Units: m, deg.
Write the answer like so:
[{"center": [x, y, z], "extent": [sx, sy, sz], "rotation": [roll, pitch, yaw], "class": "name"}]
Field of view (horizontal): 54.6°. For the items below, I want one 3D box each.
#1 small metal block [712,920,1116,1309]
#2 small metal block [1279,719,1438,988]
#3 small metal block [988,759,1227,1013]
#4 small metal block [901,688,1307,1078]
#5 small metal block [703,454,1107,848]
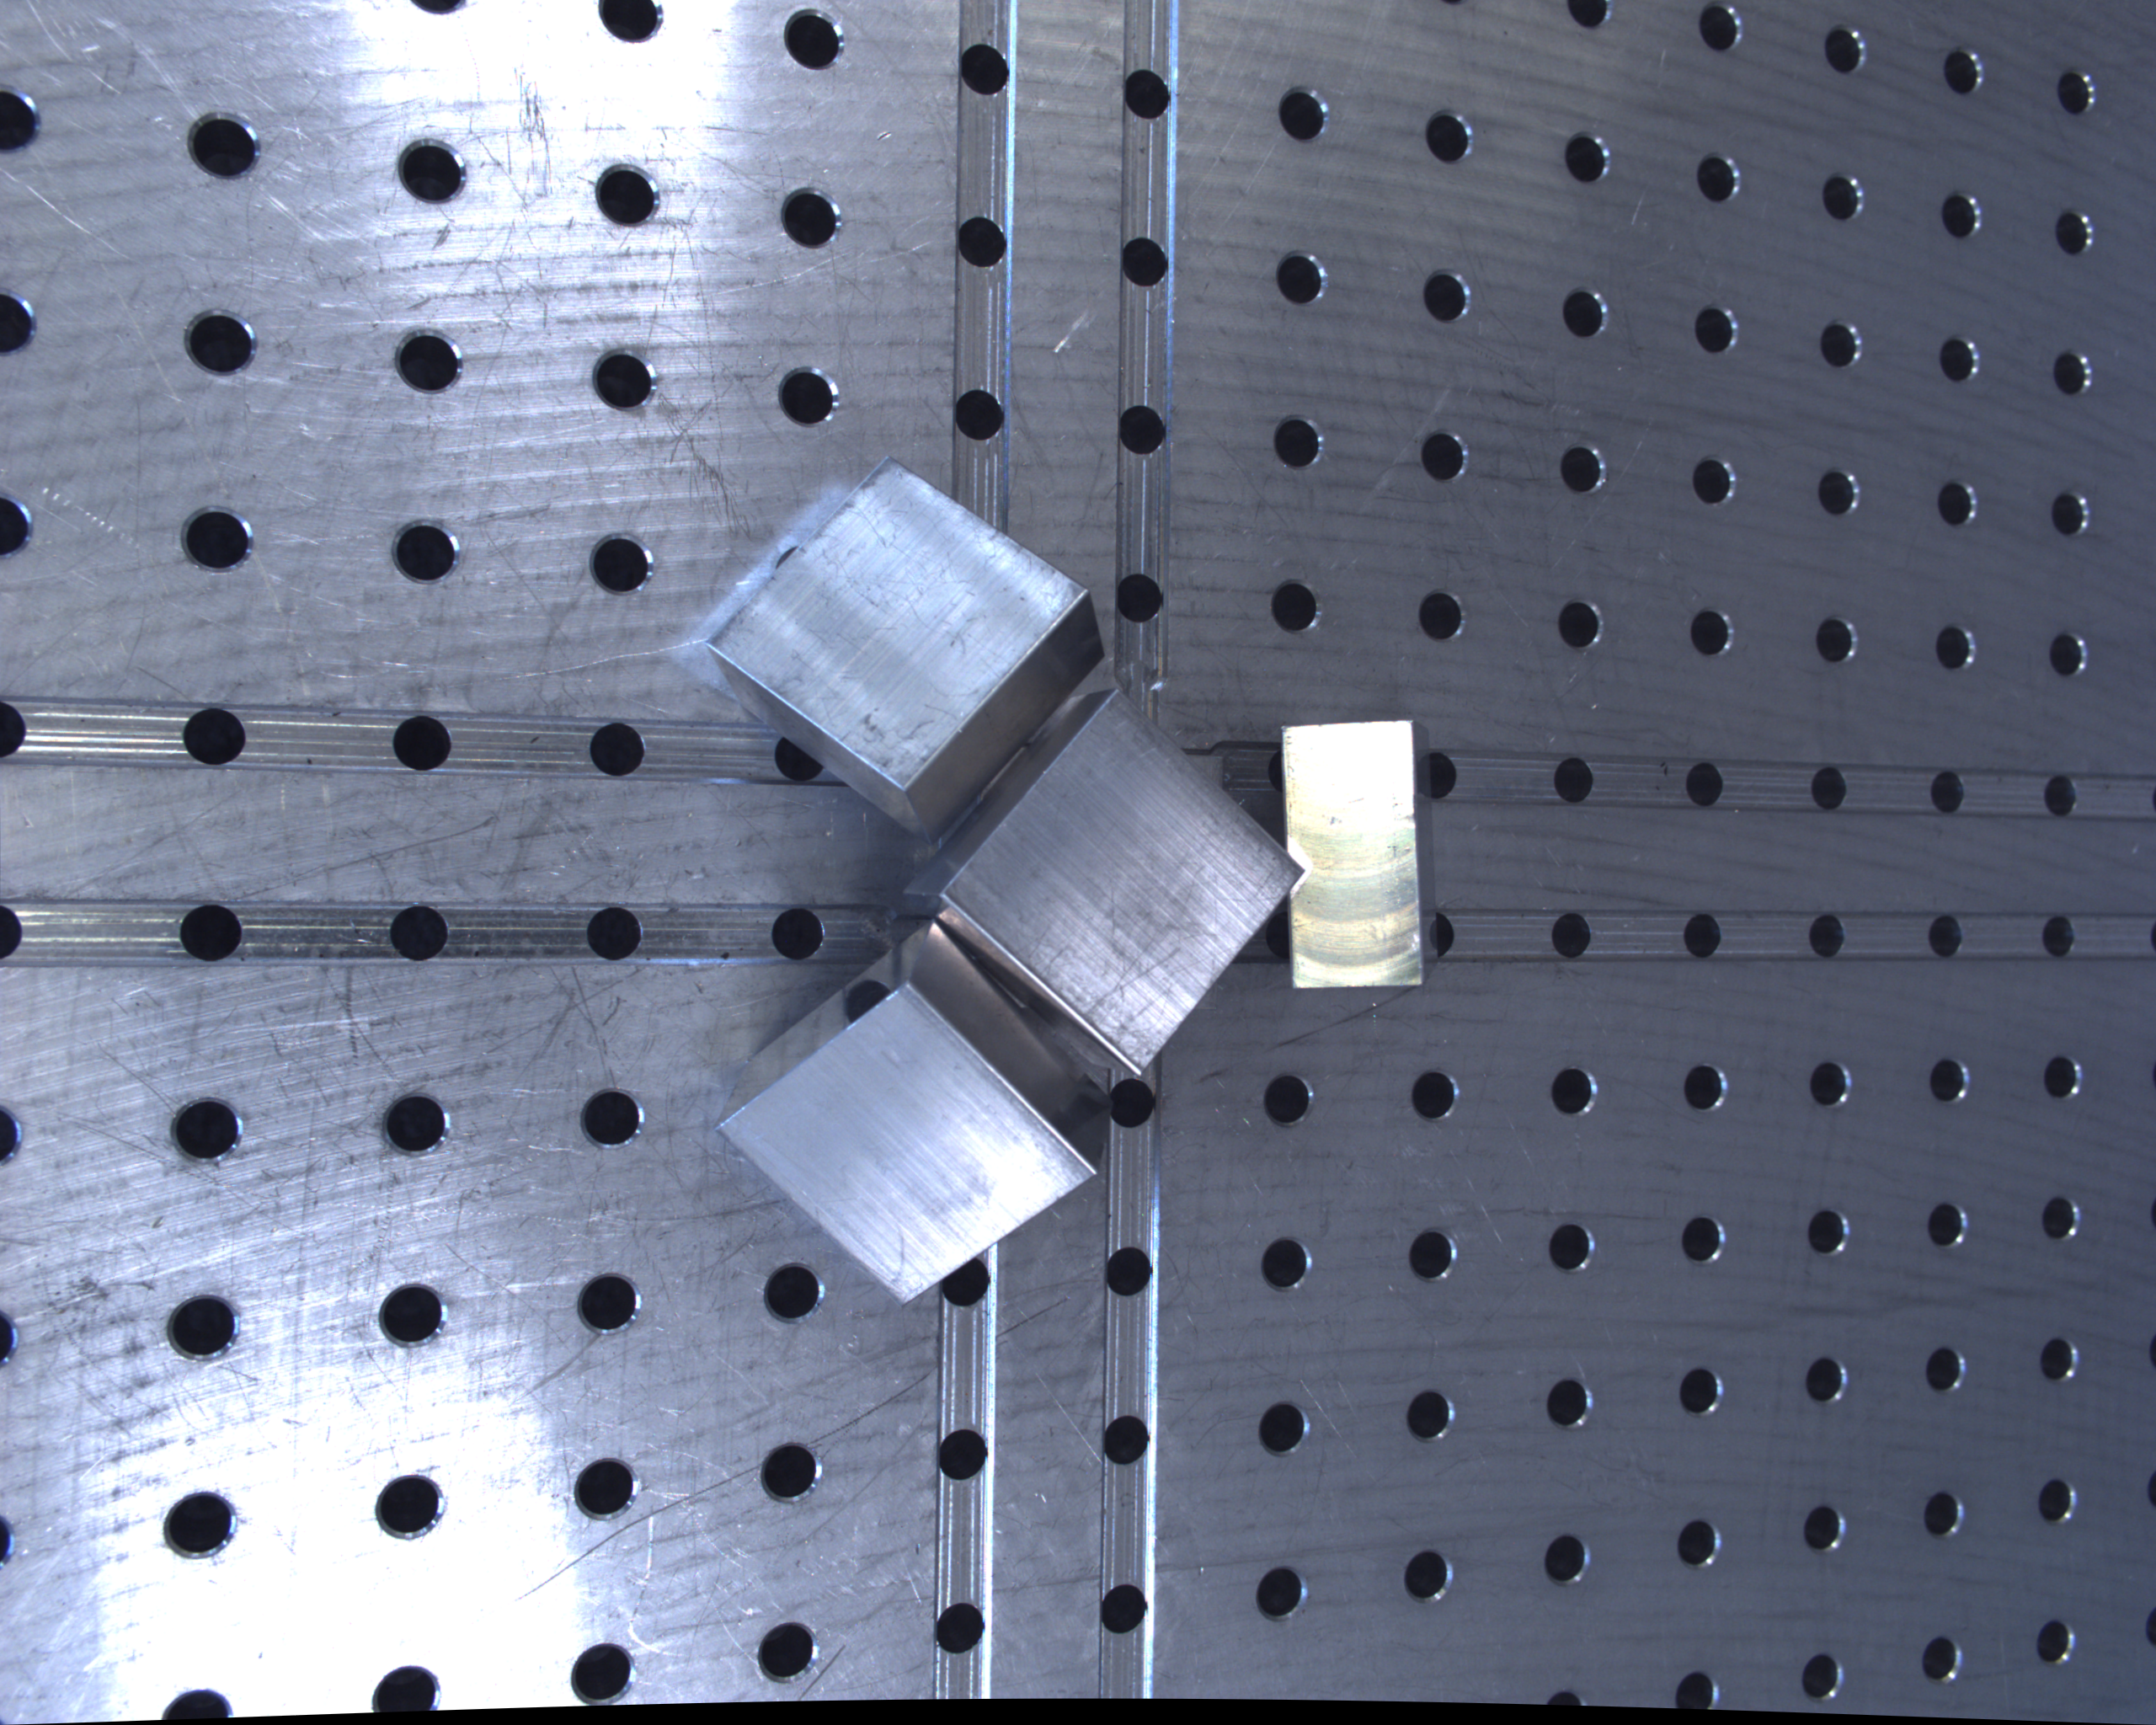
[{"center": [-0.030, 0.047, 0.388], "extent": [0.050, 0.025, 0.050], "rotation": [-38, 105, 22], "class": "small metal block"}, {"center": [0.057, -0.002, 0.417], "extent": [0.025, 0.050, 0.050], "rotation": [-2, 91, 13], "class": "small metal block"}, {"center": [0.000, 0.004, 0.412], "extent": [0.050, 0.025, 0.050], "rotation": [2, 92, -20], "class": "small metal block"}, {"center": [0.005, 0.004, 0.387], "extent": [0.050, 0.025, 0.050], "rotation": [43, 76, -16], "class": "small metal block"}, {"center": [-0.031, -0.040, 0.388], "extent": [0.050, 0.025, 0.050], "rotation": [36, 75, 20], "class": "small metal block"}]
